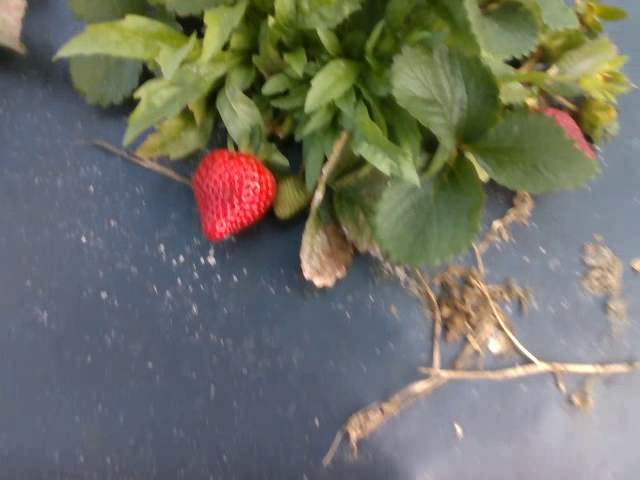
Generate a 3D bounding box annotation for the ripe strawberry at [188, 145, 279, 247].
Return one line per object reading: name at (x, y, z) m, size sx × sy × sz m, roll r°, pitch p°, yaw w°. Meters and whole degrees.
ripe strawberry at (-0.043, -0.019, 0.271) m, size 0.043 × 0.051 × 0.042 m, roll 17°, pitch -19°, yaw -7°

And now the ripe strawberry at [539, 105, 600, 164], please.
ripe strawberry at (0.115, -0.048, 0.296) m, size 0.046 × 0.043 × 0.046 m, roll 34°, pitch 5°, yaw 21°
